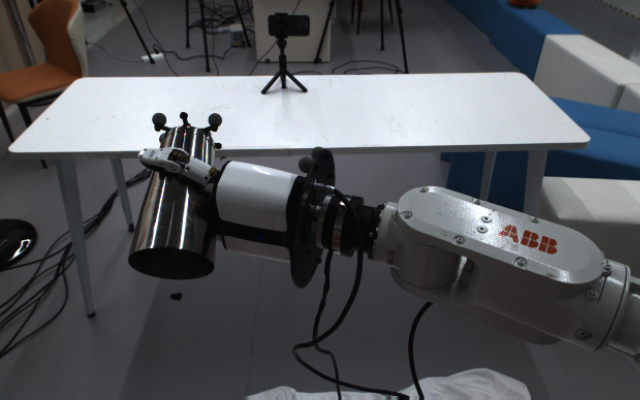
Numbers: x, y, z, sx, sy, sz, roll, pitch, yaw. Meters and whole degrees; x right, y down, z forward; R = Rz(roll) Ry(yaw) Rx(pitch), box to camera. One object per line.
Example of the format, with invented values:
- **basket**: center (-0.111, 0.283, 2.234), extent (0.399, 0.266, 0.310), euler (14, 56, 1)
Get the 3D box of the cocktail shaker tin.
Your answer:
- **cocktail shaker tin**: center (-0.166, -0.001, 0.571), extent (0.093, 0.093, 0.170), euler (0, 59, -3)
